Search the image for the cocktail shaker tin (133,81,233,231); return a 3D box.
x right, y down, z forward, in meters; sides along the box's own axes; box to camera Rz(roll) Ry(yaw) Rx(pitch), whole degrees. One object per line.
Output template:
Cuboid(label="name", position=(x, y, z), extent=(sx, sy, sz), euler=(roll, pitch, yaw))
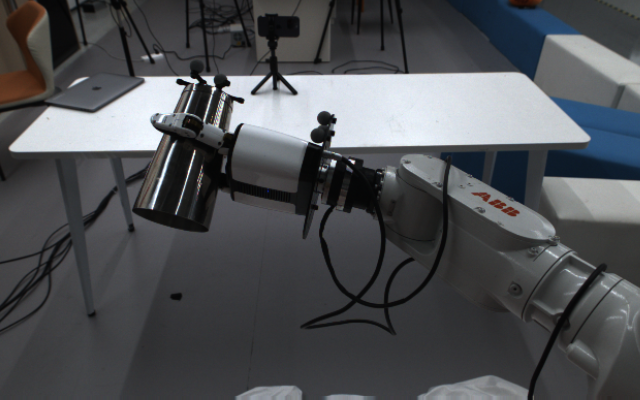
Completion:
Cuboid(label="cocktail shaker tin", position=(-0.162, -0.053, 0.601), extent=(0.093, 0.093, 0.170), euler=(10, 74, 11))
